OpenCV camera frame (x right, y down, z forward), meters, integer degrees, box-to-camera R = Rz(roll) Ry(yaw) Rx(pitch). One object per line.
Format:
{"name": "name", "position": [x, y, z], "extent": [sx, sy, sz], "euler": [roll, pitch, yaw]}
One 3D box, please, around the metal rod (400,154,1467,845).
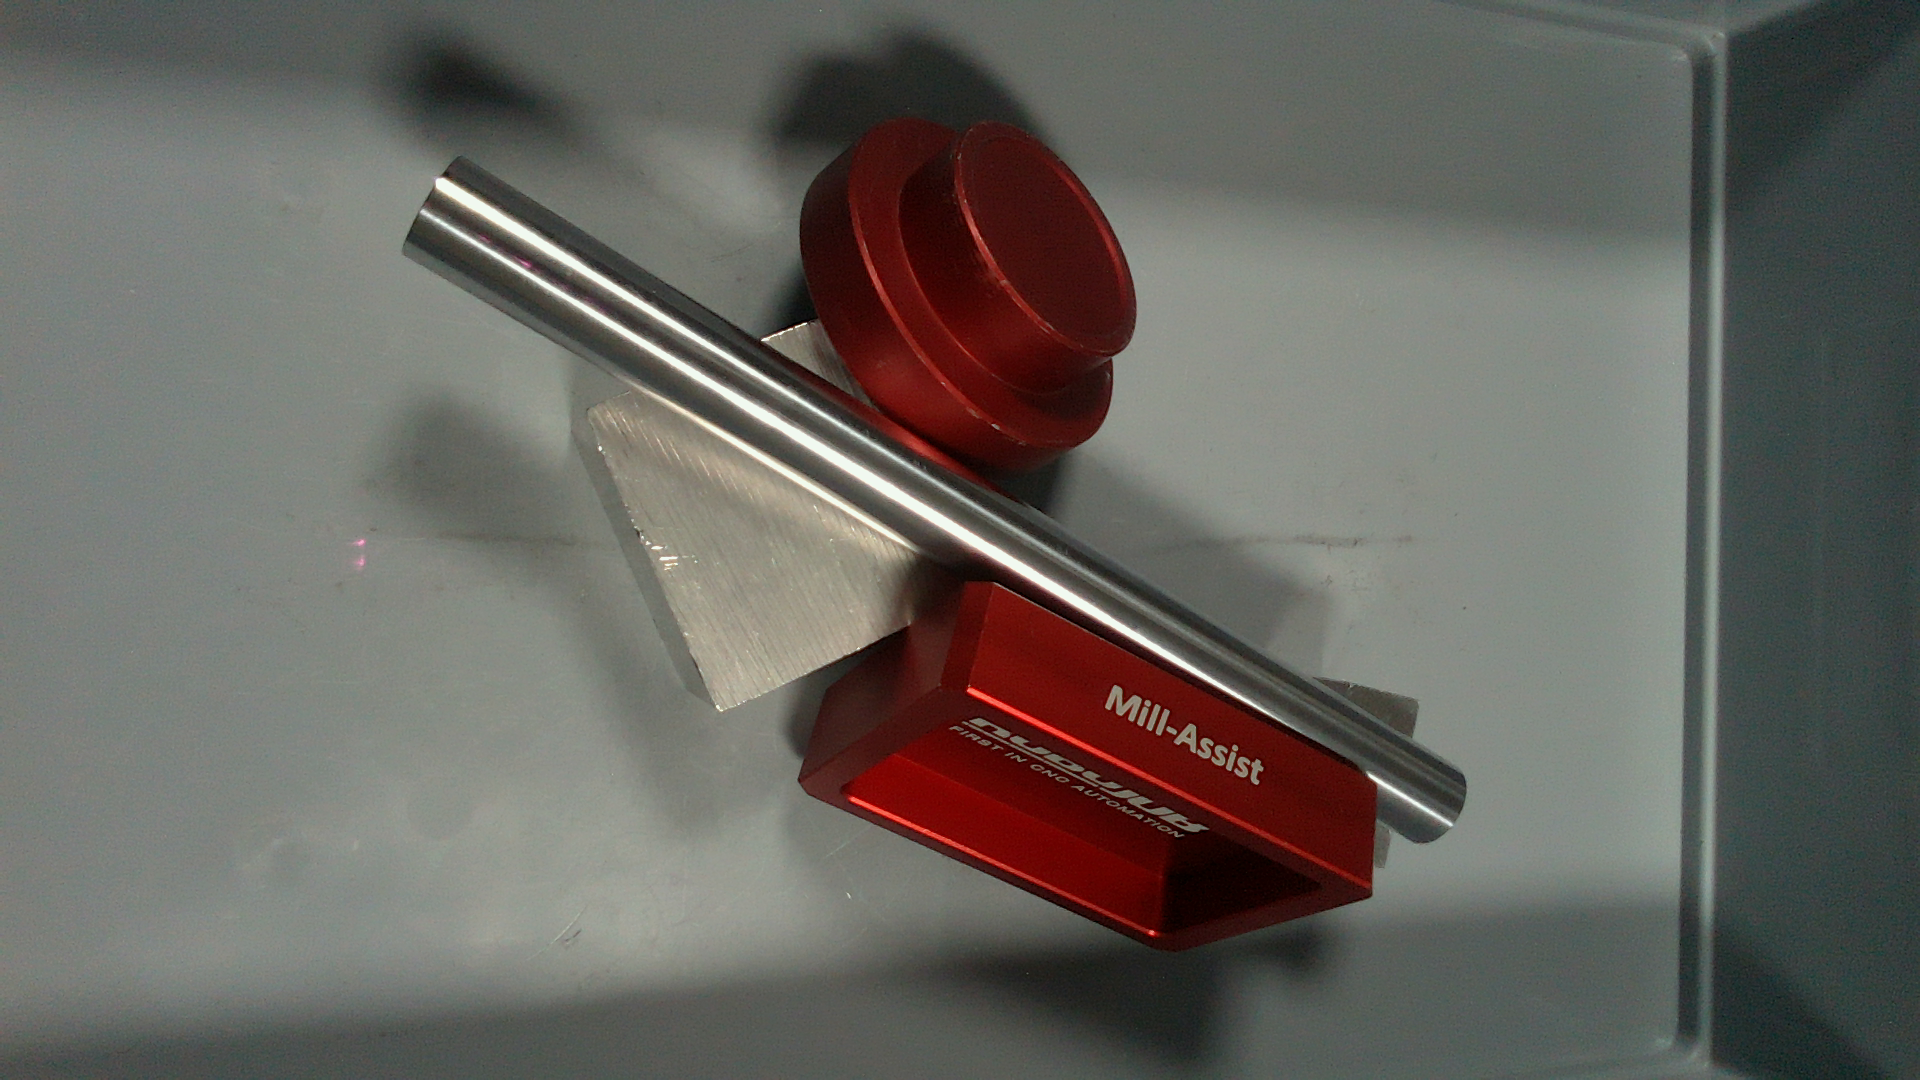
{"name": "metal rod", "position": [0.009, 0.001, 0.341], "extent": [0.301, 0.025, 0.025], "euler": [31, 80, -17]}

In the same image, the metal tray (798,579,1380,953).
{"name": "metal tray", "position": [0.034, 0.066, 0.367], "extent": [0.130, 0.090, 0.030], "euler": [28, 53, -18]}

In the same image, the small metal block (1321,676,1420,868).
{"name": "small metal block", "position": [0.109, 0.067, 0.419], "extent": [0.025, 0.050, 0.050], "euler": [15, 85, -19]}

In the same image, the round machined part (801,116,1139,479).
{"name": "round machined part", "position": [0.009, -0.069, 0.359], "extent": [0.098, 0.042, 0.098], "euler": [30, 45, -35]}

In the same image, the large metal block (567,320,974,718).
{"name": "large metal block", "position": [-0.047, -0.010, 0.361], "extent": [0.080, 0.050, 0.080], "euler": [-24, 98, -18]}
